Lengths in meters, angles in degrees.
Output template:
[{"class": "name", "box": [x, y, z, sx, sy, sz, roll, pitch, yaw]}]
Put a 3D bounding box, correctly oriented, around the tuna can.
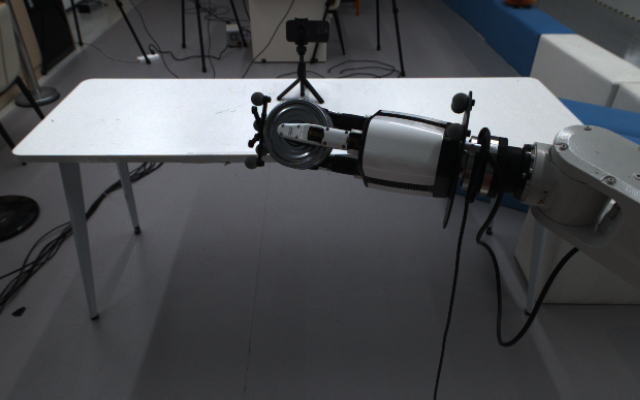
[{"class": "tuna can", "box": [-0.024, -0.083, 0.598, 0.085, 0.085, 0.034, 10, 2, 11]}]
